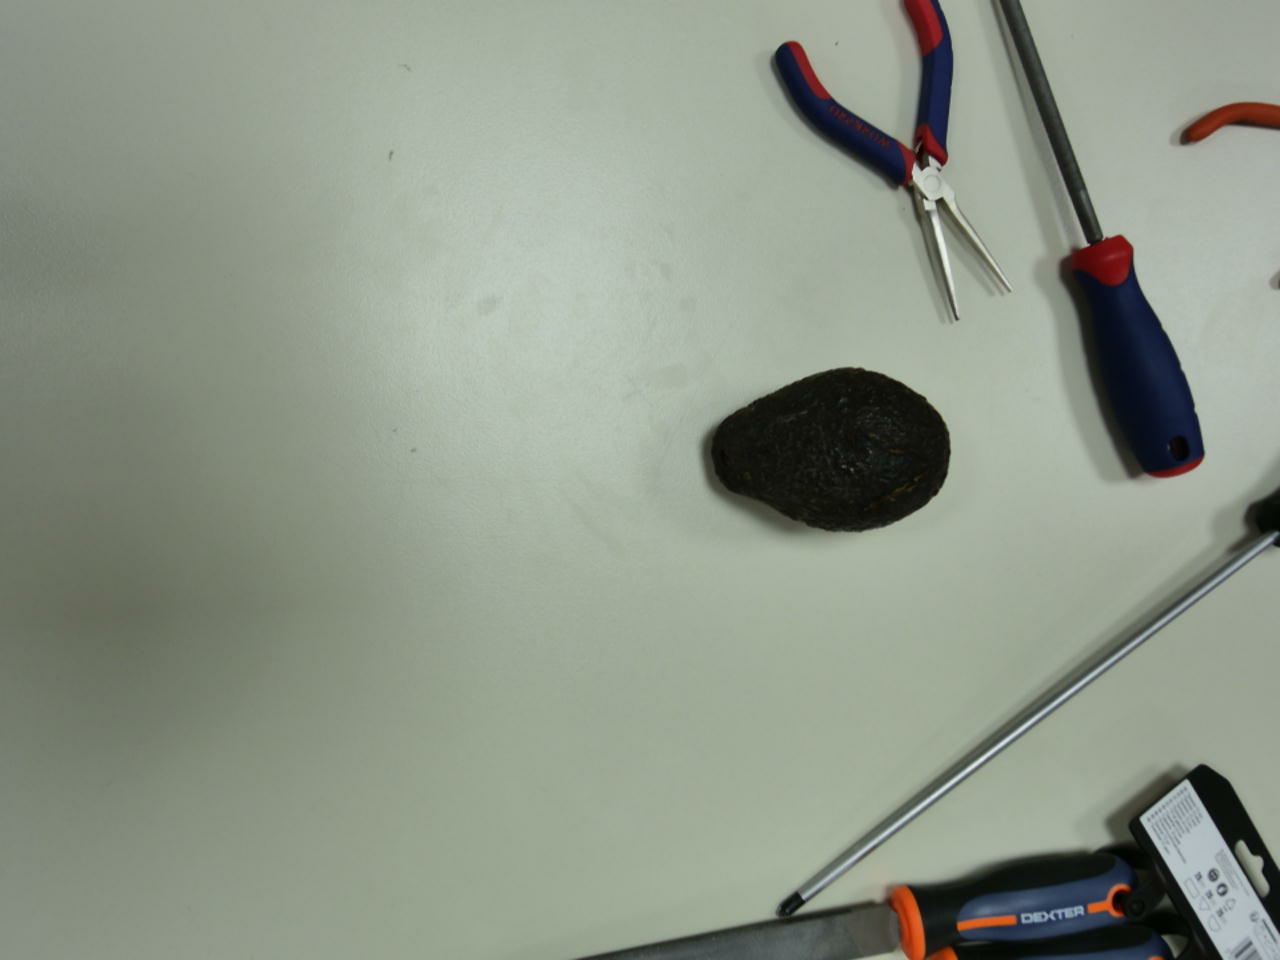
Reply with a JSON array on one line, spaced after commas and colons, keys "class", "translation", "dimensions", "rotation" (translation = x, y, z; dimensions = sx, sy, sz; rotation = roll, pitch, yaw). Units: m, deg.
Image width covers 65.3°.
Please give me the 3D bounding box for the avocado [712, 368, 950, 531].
[{"class": "avocado", "translation": [0.082, -0.015, 0.420], "dimensions": [0.090, 0.069, 0.070], "rotation": [25, 85, -11]}]
